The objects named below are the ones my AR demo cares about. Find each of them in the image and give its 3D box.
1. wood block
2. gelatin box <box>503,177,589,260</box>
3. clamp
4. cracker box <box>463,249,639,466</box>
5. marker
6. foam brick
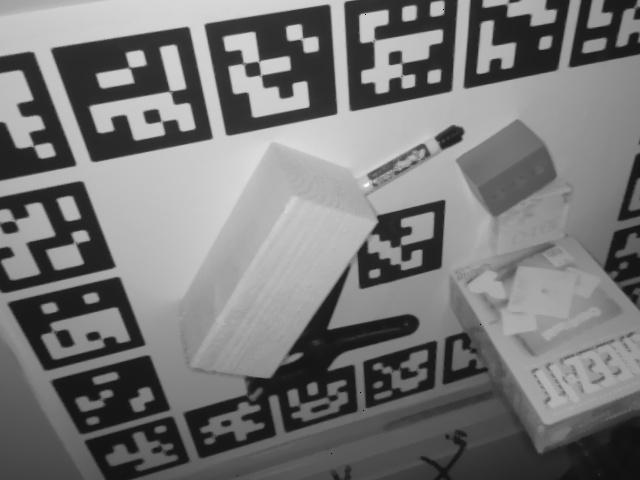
[{"bbox_3d":[-0.031,0.020,0.652,0.091,0.091,0.204,18,118,-31],"label":"wood block"},{"bbox_3d":[0.247,-0.024,0.759,0.090,0.030,0.073,-14,125,-10],"label":"gelatin box"},{"bbox_3d":[0.013,0.120,0.764,0.202,0.036,0.166,-38,126,8],"label":"clamp"},{"bbox_3d":[0.268,0.114,0.735,0.165,0.214,0.071,-15,128,-7],"label":"cracker box"},{"bbox_3d":[0.111,-0.085,0.670,0.121,0.019,0.019,-29,126,1],"label":"marker"},{"bbox_3d":[0.204,-0.073,0.693,0.078,0.051,0.053,-33,126,4],"label":"foam brick"}]
